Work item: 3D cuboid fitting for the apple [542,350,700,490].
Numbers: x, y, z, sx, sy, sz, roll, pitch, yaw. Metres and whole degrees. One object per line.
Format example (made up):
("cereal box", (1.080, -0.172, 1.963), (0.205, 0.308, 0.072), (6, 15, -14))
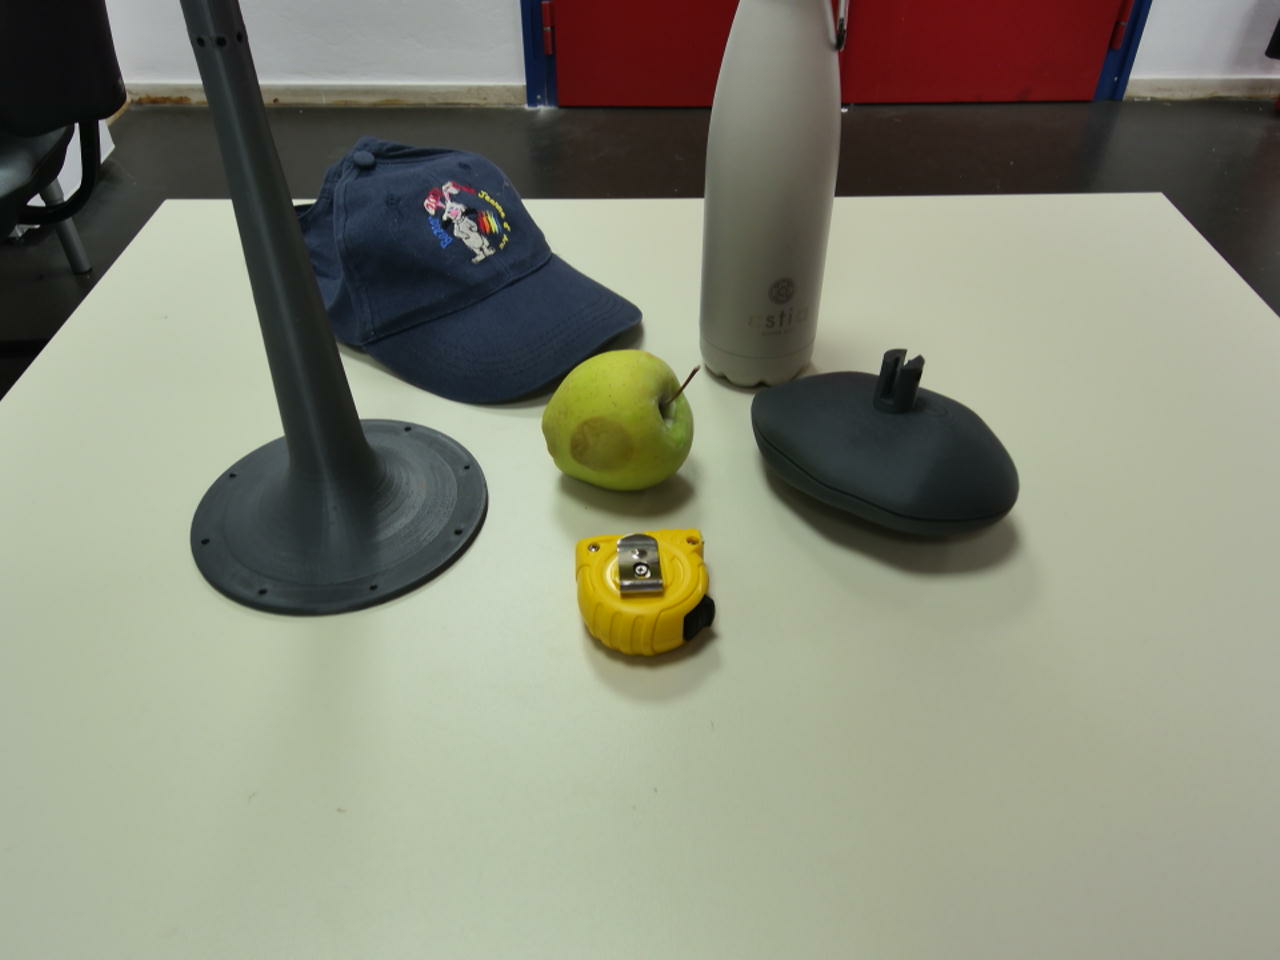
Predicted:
("apple", (-0.010, -0.033, 0.524), (0.077, 0.075, 0.072), (32, 48, 33))
